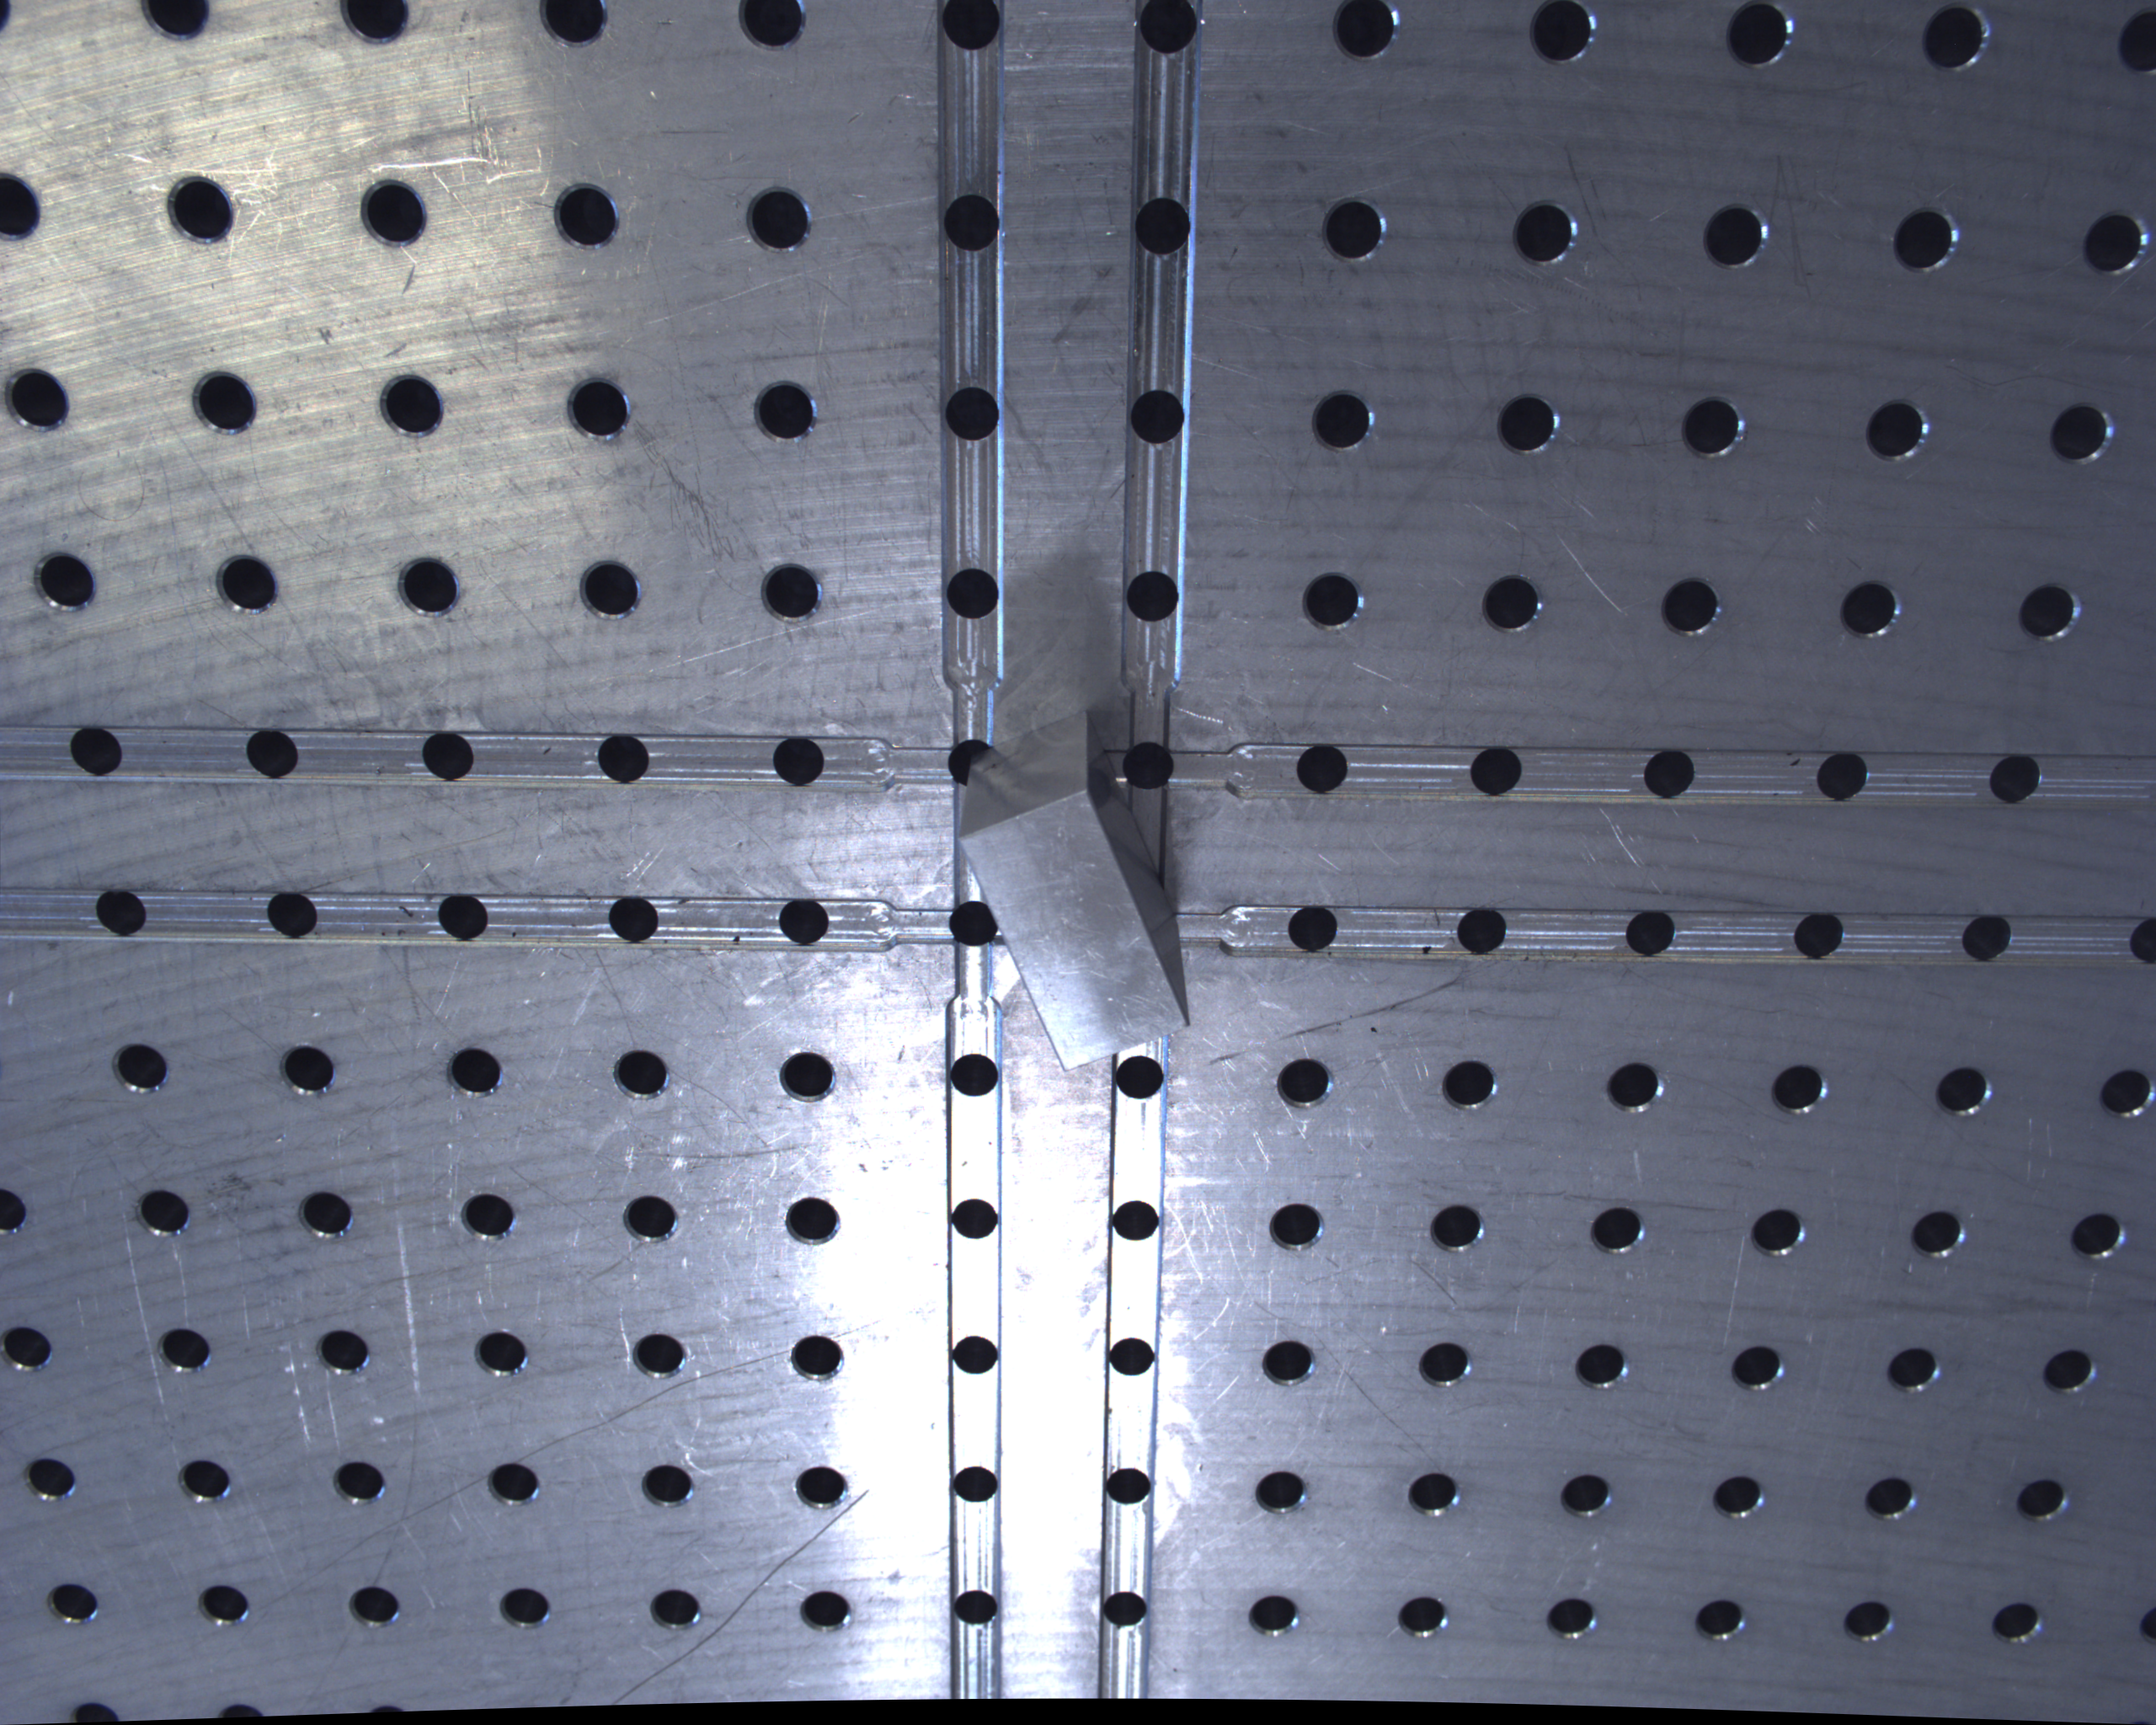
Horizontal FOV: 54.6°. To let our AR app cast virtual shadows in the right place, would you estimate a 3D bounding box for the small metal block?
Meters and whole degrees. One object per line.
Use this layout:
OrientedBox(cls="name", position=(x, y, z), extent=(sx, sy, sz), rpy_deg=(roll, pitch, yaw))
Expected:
OrientedBox(cls="small metal block", position=(0.000, 0.004, 0.401), extent=(0.025, 0.050, 0.050), rpy_deg=(-21, 109, 7))
